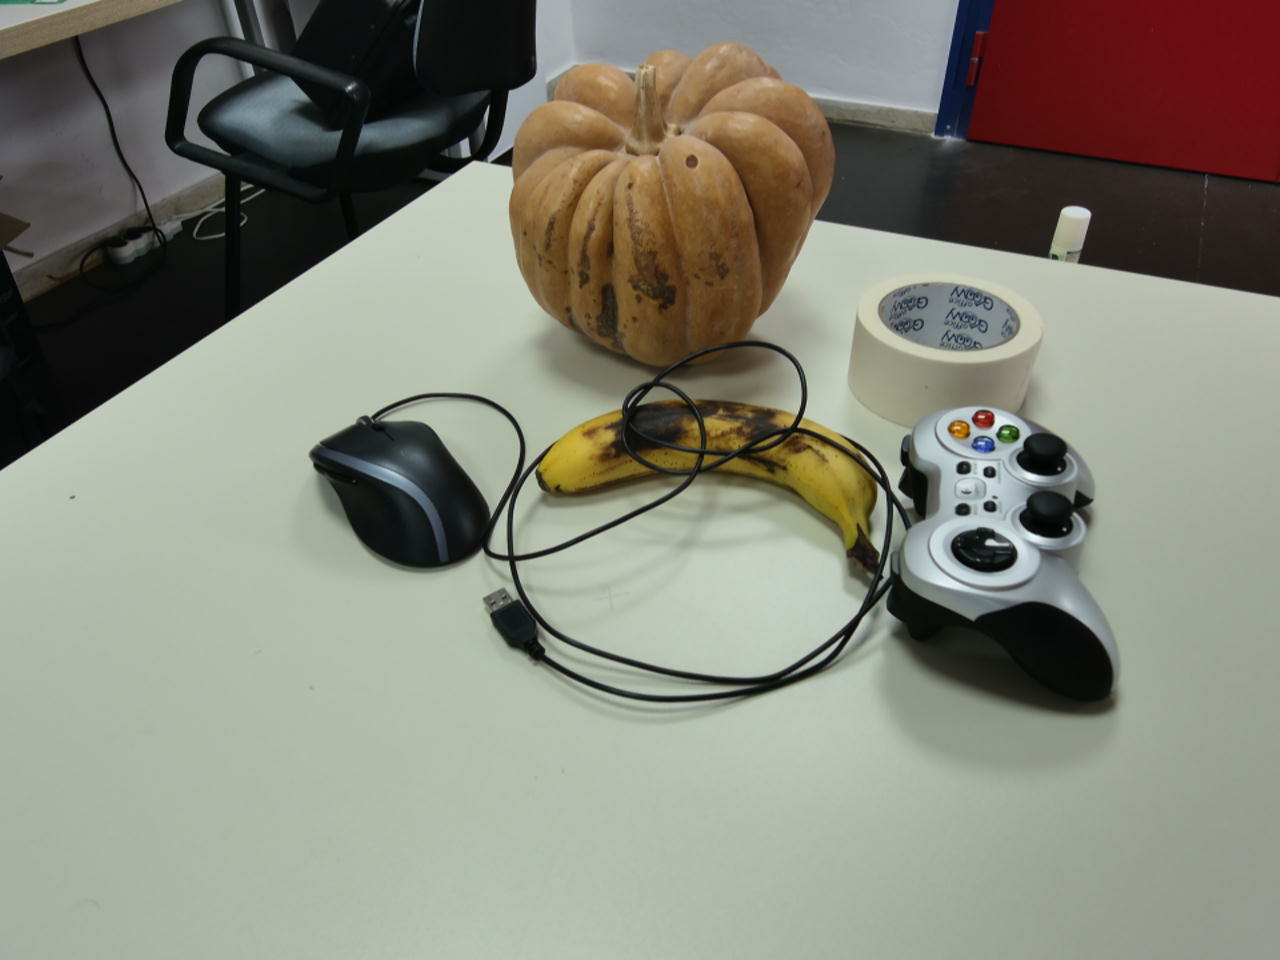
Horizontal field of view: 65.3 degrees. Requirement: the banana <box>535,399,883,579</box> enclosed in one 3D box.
[{"bbox_3d":[0.045,-0.008,0.530,0.187,0.039,0.094,15,41,19],"label":"banana"}]
